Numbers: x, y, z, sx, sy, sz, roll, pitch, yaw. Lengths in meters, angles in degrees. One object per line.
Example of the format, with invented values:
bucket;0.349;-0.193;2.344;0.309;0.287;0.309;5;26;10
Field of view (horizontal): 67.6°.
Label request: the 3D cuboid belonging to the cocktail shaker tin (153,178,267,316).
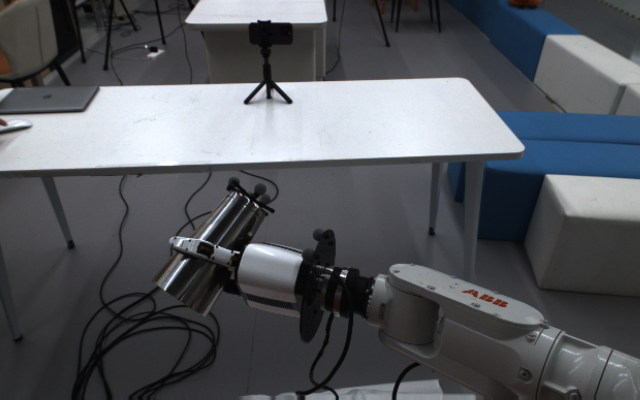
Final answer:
cocktail shaker tin;-0.155;0.070;0.708;0.093;0.093;0.170;24;69;28
